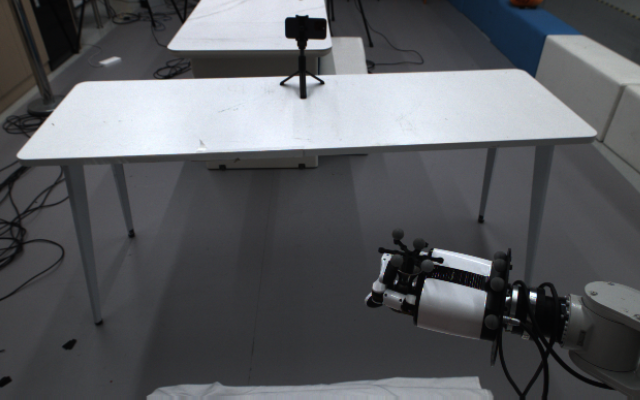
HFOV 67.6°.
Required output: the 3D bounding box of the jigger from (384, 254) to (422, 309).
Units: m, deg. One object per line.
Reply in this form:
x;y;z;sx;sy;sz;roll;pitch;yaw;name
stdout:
0.122;0.121;0.690;0.043;0.071;0.043;6;26;-3;jigger
